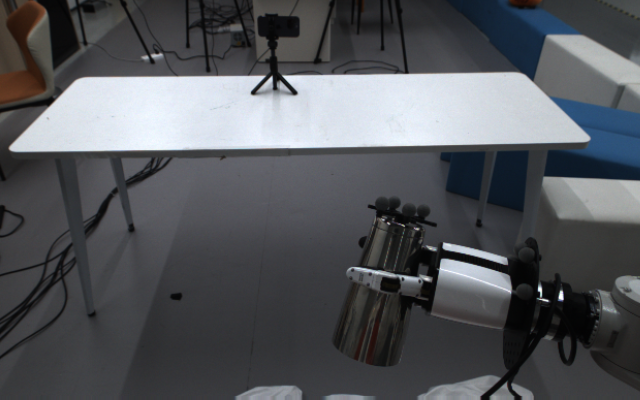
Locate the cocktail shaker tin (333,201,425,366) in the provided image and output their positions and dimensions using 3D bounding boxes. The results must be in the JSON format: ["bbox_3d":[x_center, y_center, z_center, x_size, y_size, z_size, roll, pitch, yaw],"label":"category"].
[{"bbox_3d":[0.083,0.109,0.614,0.093,0.170,0.093,13,6,-1],"label":"cocktail shaker tin"}]
